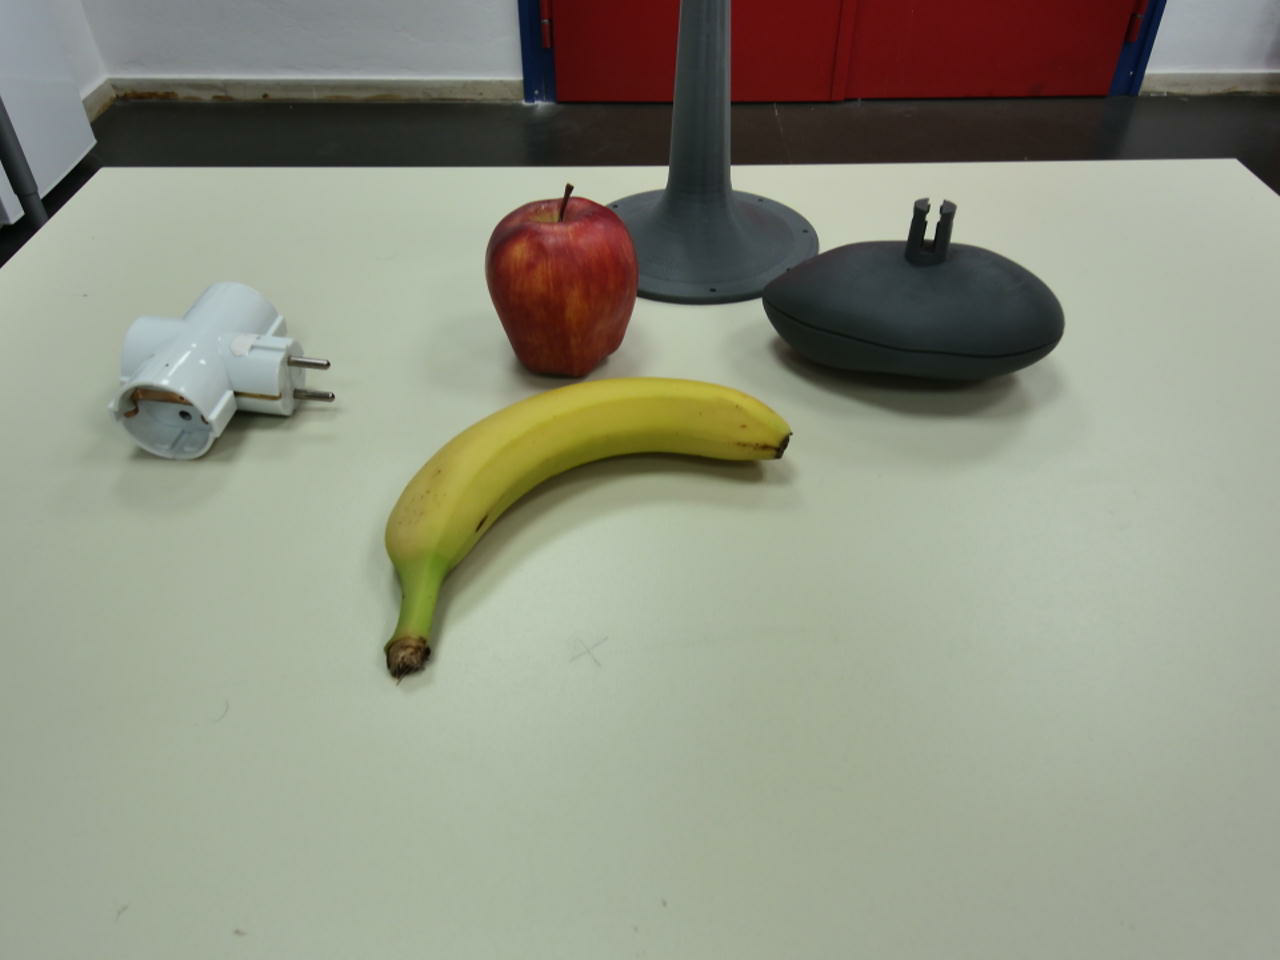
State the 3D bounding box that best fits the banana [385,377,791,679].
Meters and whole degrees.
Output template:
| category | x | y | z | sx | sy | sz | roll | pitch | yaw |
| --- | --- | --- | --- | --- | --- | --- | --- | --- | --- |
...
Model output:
| category | x | y | z | sx | sy | sz | roll | pitch | yaw |
| --- | --- | --- | --- | --- | --- | --- | --- | --- | --- |
| banana | -0.035 | -0.001 | 0.421 | 0.196 | 0.041 | 0.094 | -25 | 44 | -27 |
